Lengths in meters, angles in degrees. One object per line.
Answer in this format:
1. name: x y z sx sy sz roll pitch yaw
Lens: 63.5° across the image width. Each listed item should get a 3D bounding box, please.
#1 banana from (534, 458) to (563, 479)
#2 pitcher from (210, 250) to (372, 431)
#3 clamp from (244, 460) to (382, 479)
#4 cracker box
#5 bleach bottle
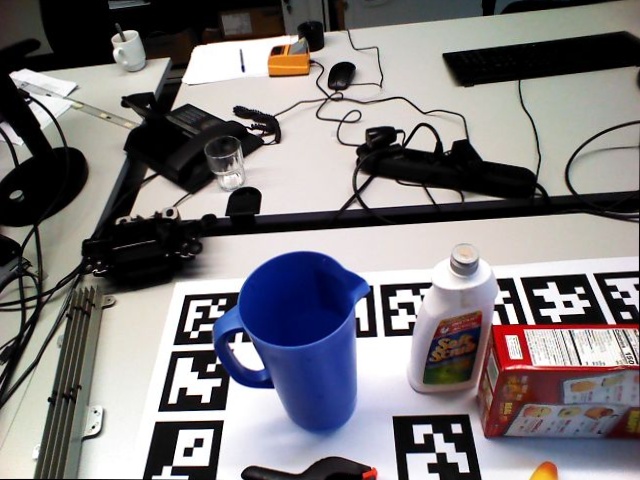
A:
1. banana: 0.217 0.324 0.591 0.196 0.039 0.074 -28 47 -18
2. pitcher: -0.024 0.135 0.633 0.189 0.243 0.133 -15 44 -9
3. clamp: -0.002 0.315 0.626 0.165 0.037 0.121 -14 43 -7
4. cracker box: 0.321 0.171 0.604 0.214 0.164 0.071 -3 42 9
5. bleach bottle: 0.166 0.109 0.655 0.103 0.251 0.067 -4 44 6
